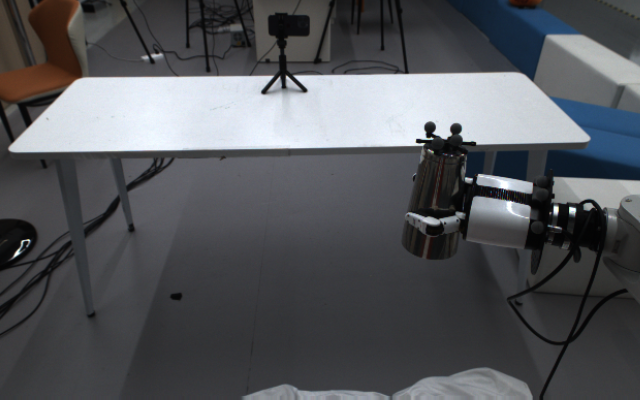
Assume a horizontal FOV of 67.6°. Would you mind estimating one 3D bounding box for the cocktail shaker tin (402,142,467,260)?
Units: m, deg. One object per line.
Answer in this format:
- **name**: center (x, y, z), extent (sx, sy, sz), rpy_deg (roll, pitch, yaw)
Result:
- **cocktail shaker tin**: center (0.185, -0.004, 0.759), extent (0.093, 0.170, 0.093), rpy_deg (2, 28, -1)
